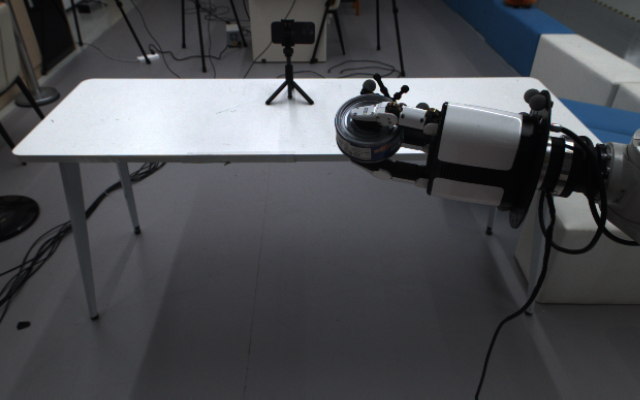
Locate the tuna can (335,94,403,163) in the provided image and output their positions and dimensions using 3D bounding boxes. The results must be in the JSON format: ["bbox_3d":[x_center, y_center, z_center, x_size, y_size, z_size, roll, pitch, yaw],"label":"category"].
[{"bbox_3d":[0.066,-0.083,0.597,0.085,0.034,0.085,-4,58,6],"label":"tuna can"}]
